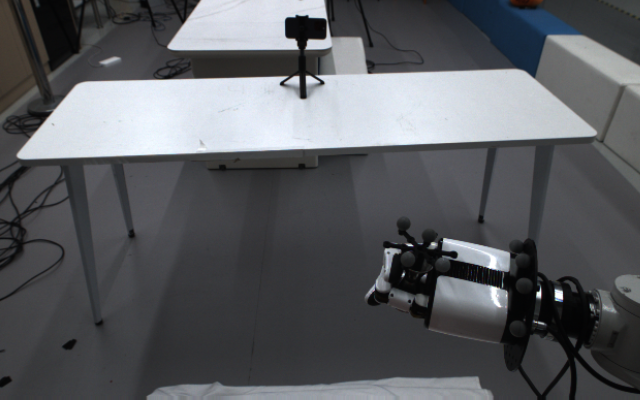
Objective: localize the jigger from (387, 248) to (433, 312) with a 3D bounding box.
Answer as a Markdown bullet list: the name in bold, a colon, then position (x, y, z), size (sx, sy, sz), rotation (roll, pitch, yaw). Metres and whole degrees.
- **jigger**: position (0.116, 0.102, 0.609), size (0.043, 0.071, 0.043), rotation (7, 32, -4)
